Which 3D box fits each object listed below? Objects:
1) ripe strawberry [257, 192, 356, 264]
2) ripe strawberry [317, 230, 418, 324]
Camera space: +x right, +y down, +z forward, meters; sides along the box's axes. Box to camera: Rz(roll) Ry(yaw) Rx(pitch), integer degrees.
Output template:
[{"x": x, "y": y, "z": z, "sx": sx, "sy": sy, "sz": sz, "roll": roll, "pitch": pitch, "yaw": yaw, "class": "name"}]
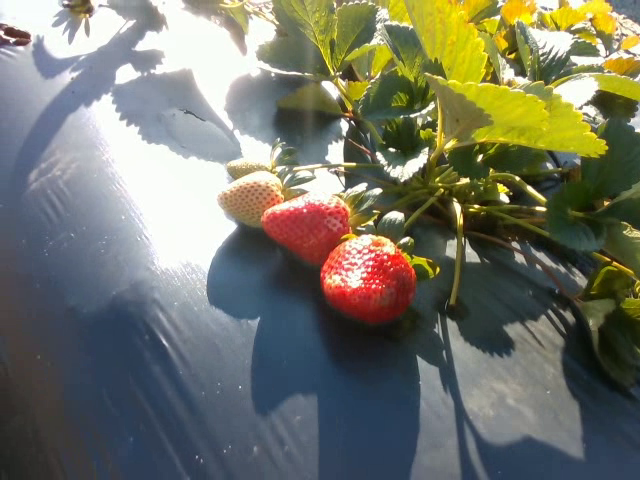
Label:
[{"x": -0.007, "y": -0.010, "z": 0.332, "sx": 0.061, "sy": 0.051, "sz": 0.044, "roll": 4, "pitch": -31, "yaw": -30, "class": "ripe strawberry"}, {"x": 0.023, "y": 0.022, "z": 0.301, "sx": 0.056, "sy": 0.052, "sz": 0.067, "roll": -4, "pitch": 10, "yaw": 17, "class": "ripe strawberry"}]
